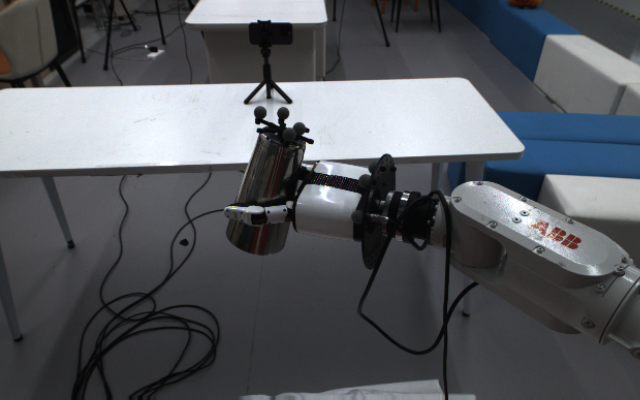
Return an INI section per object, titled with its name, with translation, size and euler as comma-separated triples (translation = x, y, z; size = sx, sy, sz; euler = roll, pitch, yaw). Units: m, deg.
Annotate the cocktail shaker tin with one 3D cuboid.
[cocktail shaker tin]
translation = -0.075, -0.017, 0.698
size = 0.093, 0.170, 0.093
euler = 15, 27, -8
